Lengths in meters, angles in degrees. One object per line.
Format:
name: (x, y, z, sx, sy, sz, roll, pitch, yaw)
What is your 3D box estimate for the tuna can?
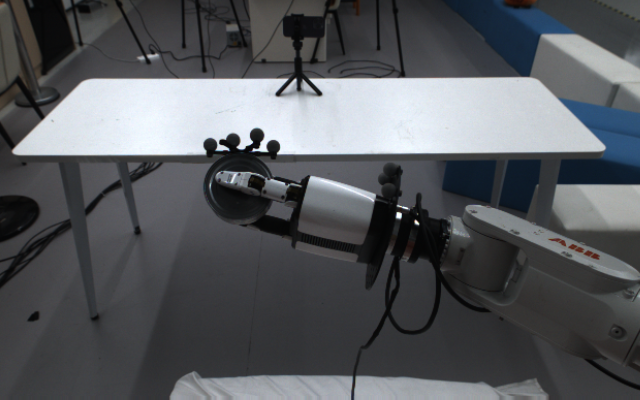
tuna can: (-0.095, -0.014, 0.599, 0.085, 0.034, 0.085, 1, 70, -3)
